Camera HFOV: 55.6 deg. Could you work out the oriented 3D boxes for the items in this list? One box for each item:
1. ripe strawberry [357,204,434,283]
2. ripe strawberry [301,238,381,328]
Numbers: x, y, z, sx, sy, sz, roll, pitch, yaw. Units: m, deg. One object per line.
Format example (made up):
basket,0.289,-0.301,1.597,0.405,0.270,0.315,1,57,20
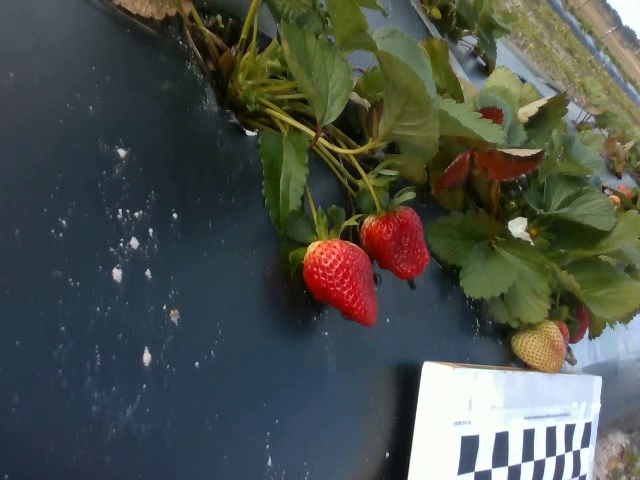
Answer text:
ripe strawberry,0.054,0.001,0.387,0.042,0.053,0.034,-8,-26,-43
ripe strawberry,0.017,0.024,0.337,0.050,0.061,0.045,-1,-34,-44
